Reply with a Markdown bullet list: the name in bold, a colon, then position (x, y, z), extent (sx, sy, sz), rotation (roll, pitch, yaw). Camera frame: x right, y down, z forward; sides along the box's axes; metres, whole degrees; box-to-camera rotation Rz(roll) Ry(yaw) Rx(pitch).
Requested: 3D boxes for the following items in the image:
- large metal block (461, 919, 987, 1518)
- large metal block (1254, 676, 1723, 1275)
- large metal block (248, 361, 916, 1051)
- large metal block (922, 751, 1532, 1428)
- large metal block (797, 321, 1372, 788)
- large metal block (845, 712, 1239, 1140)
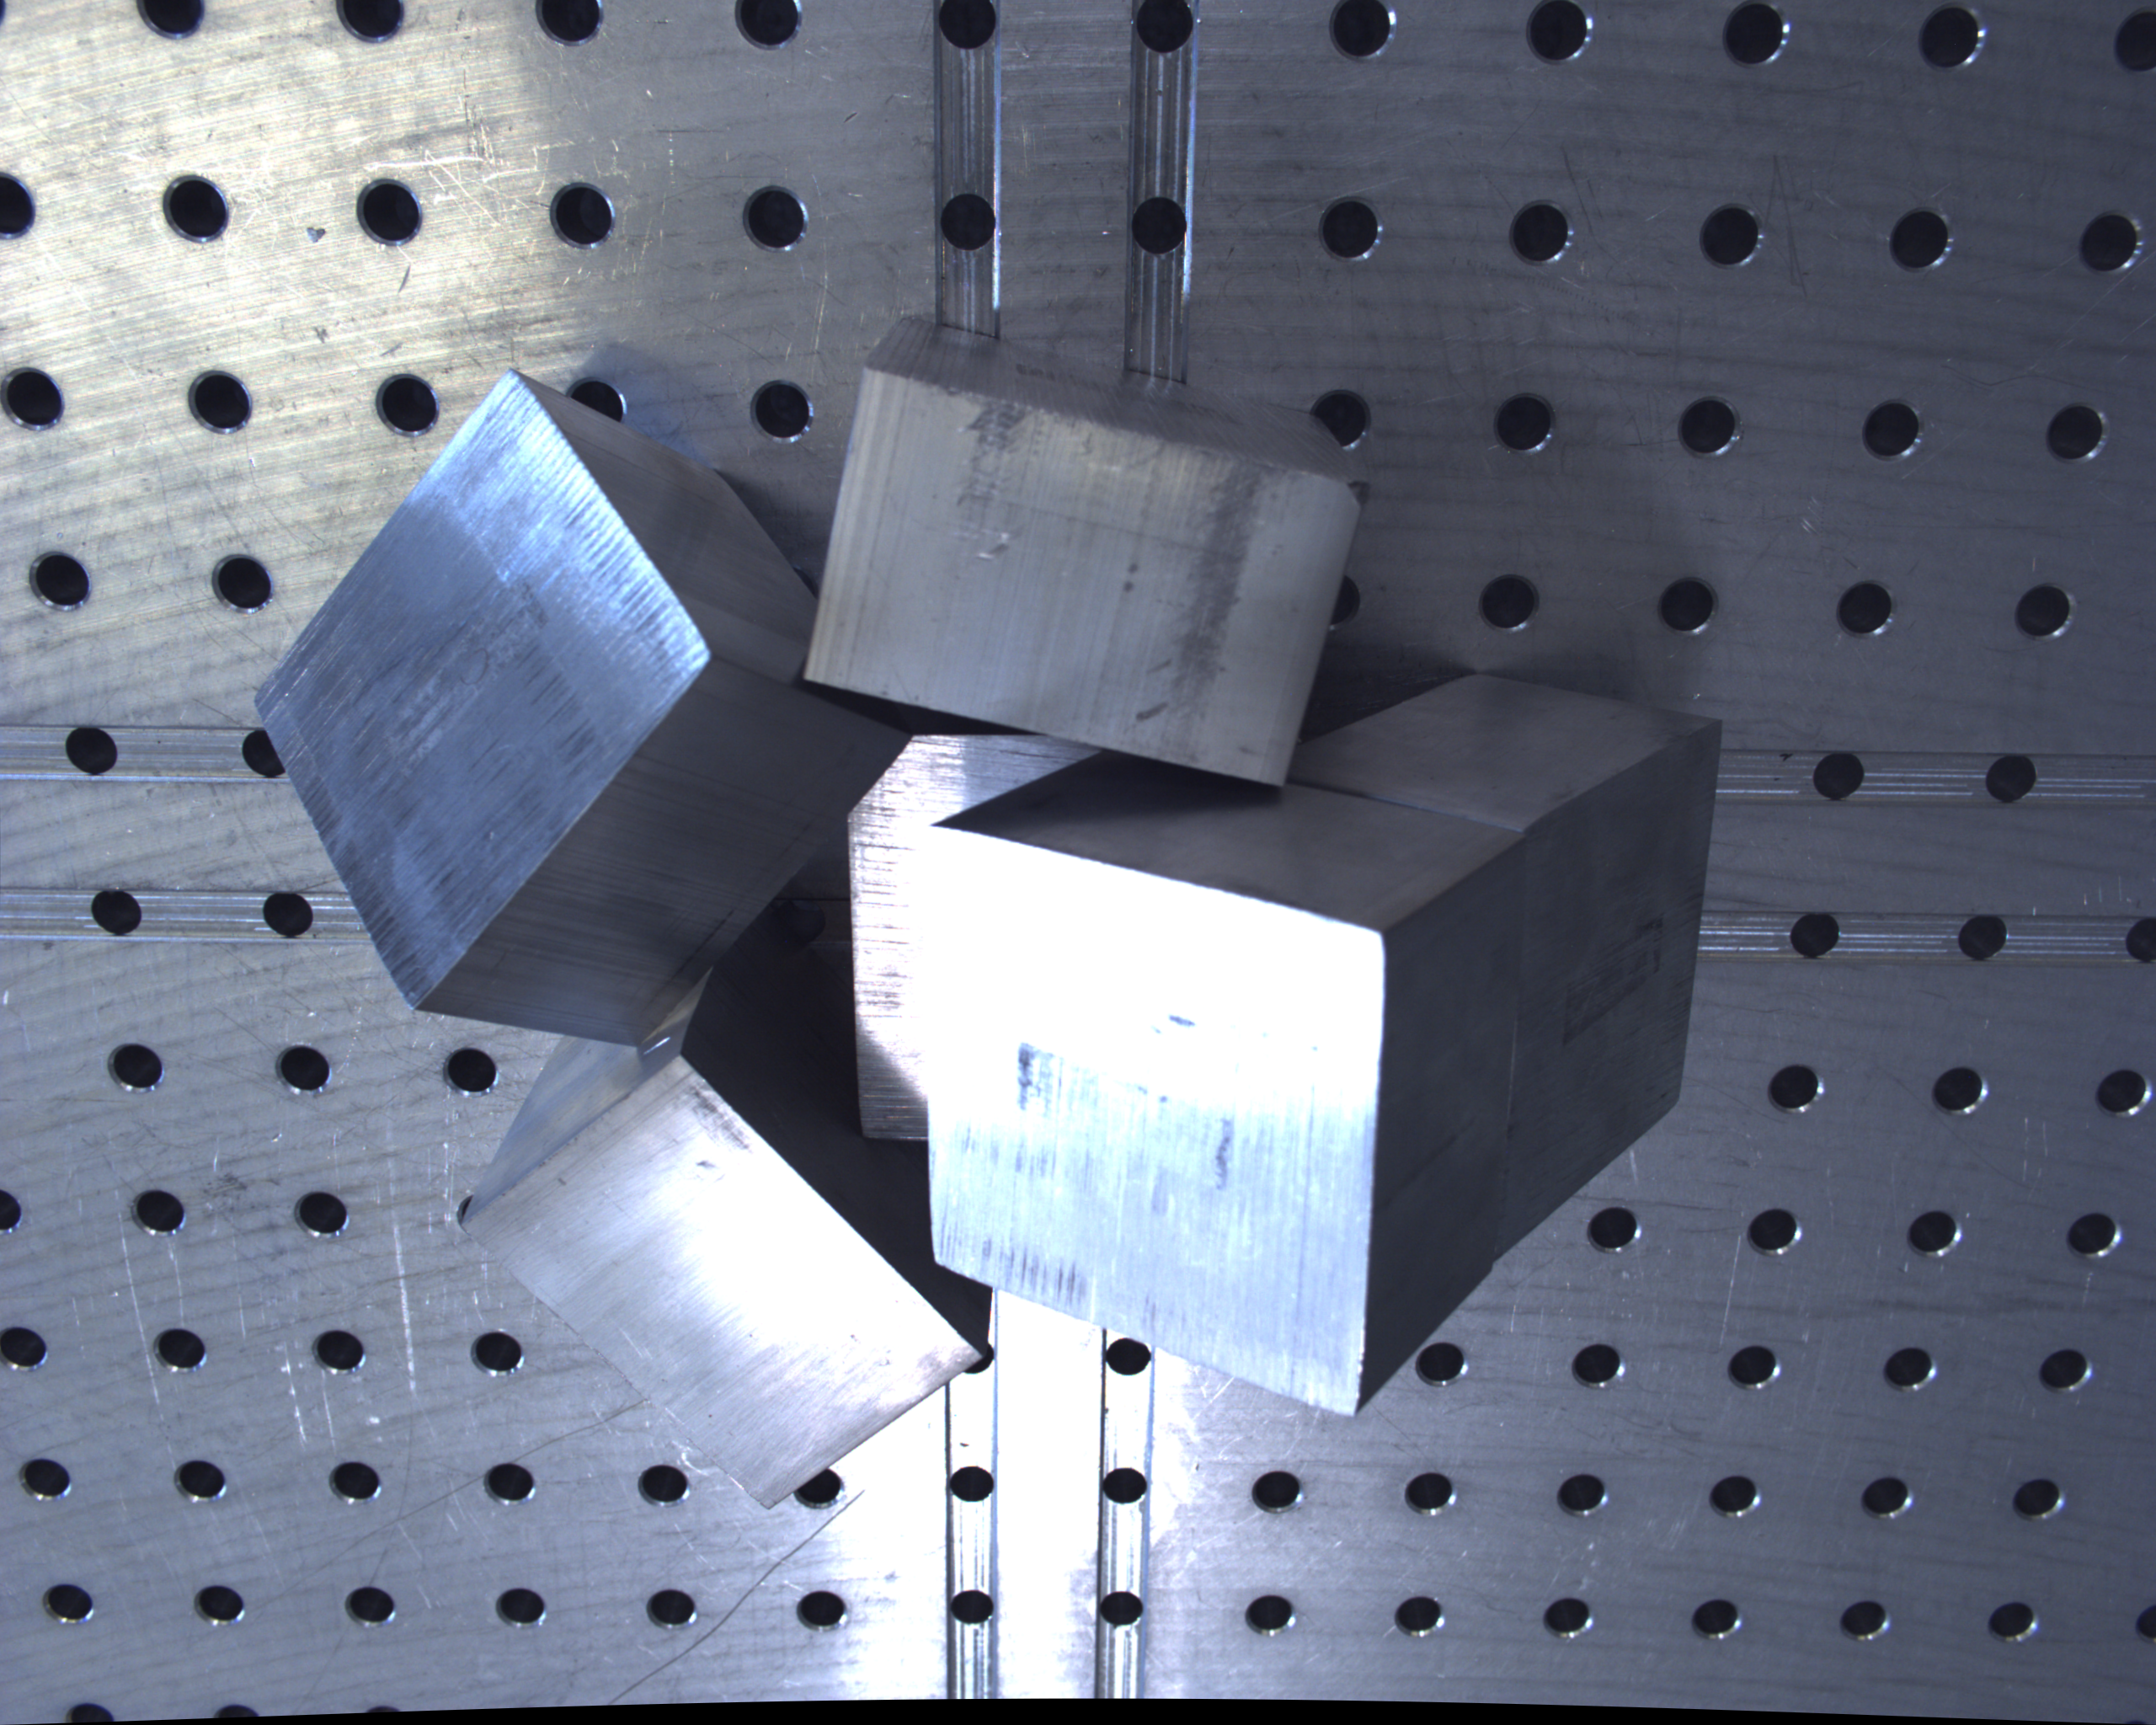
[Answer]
- **large metal block**: position (-0.062, 0.063, 0.405), extent (0.050, 0.080, 0.080), rotation (-38, 106, 12)
- **large metal block**: position (0.074, 0.016, 0.382), extent (0.050, 0.081, 0.079), rotation (14, 114, 35)
- **large metal block**: position (-0.089, -0.026, 0.367), extent (0.080, 0.080, 0.050), rotation (-47, 148, 15)
- **large metal block**: position (0.023, 0.032, 0.338), extent (0.080, 0.050, 0.079), rotation (13, 113, 31)
- **large metal block**: position (0.001, -0.057, 0.363), extent (0.080, 0.080, 0.050), rotation (12, 110, -4)
- **large metal block**: position (-0.001, 0.007, 0.402), extent (0.080, 0.050, 0.079), rotation (1, 110, -1)
